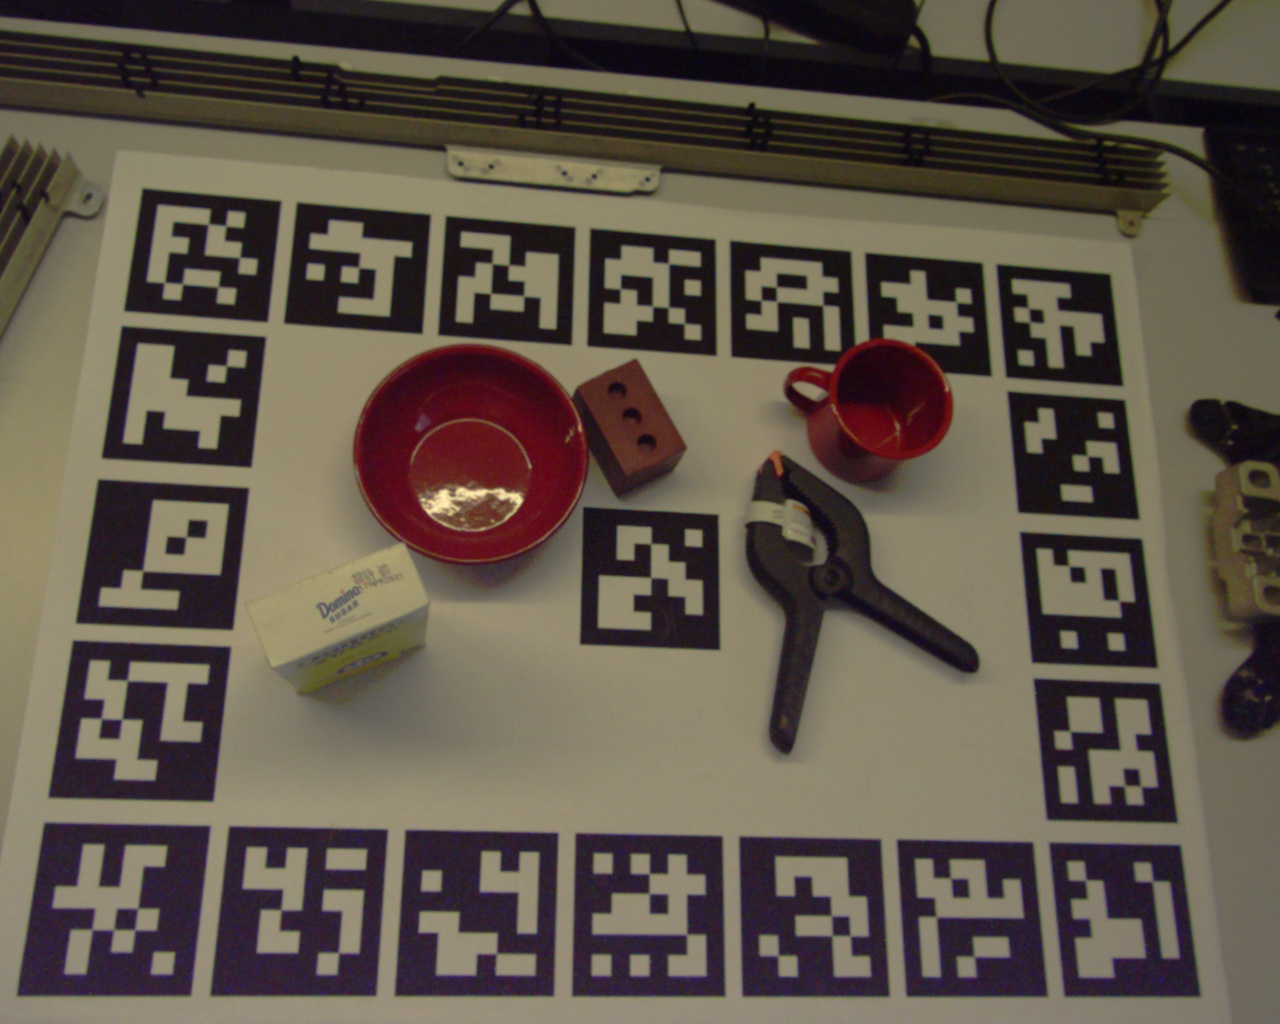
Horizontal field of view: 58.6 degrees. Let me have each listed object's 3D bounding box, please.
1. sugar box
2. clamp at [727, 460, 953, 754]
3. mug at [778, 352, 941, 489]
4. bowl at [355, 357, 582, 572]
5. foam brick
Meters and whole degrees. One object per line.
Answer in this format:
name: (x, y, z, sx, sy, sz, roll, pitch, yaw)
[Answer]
sugar box: (-0.188, 0.081, 0.733, 0.092, 0.177, 0.045, -22, 82, -16)
clamp: (0.123, 0.056, 0.854, 0.164, 0.037, 0.203, -21, 80, -11)
mug: (0.159, -0.071, 0.873, 0.117, 0.082, 0.093, 28, 73, -4)
bowl: (-0.126, -0.029, 0.835, 0.161, 0.055, 0.162, 2, 75, -9)
foam brick: (-0.012, -0.048, 0.865, 0.052, 0.051, 0.078, -25, 81, -14)
